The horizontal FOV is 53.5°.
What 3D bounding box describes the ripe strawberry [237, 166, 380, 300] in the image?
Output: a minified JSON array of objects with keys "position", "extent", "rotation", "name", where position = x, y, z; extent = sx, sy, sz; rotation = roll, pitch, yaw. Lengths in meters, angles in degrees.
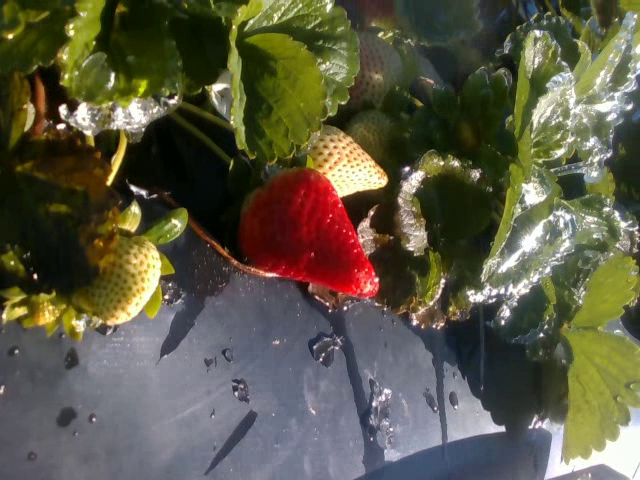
[{"position":[-0.001,0.001,0.194],"extent":[0.040,0.053,0.042],"rotation":[-34,-26,-31],"name":"ripe strawberry"}]
